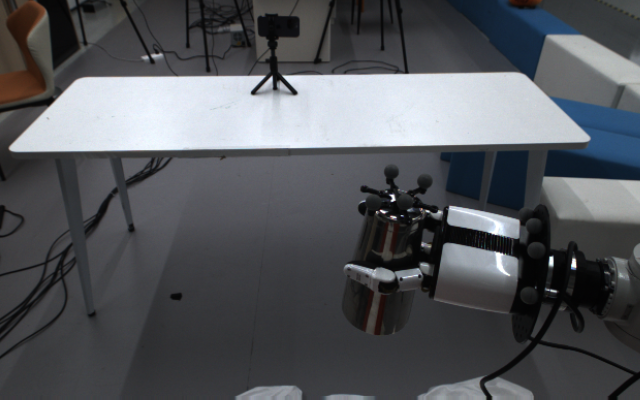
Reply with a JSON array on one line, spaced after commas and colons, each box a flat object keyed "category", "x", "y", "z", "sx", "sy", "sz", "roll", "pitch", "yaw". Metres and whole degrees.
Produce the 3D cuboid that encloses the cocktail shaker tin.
[{"category": "cocktail shaker tin", "x": 0.083, "y": 0.073, "z": 0.595, "sx": 0.093, "sy": 0.170, "sz": 0.093, "roll": 4, "pitch": 36, "yaw": -3}]
